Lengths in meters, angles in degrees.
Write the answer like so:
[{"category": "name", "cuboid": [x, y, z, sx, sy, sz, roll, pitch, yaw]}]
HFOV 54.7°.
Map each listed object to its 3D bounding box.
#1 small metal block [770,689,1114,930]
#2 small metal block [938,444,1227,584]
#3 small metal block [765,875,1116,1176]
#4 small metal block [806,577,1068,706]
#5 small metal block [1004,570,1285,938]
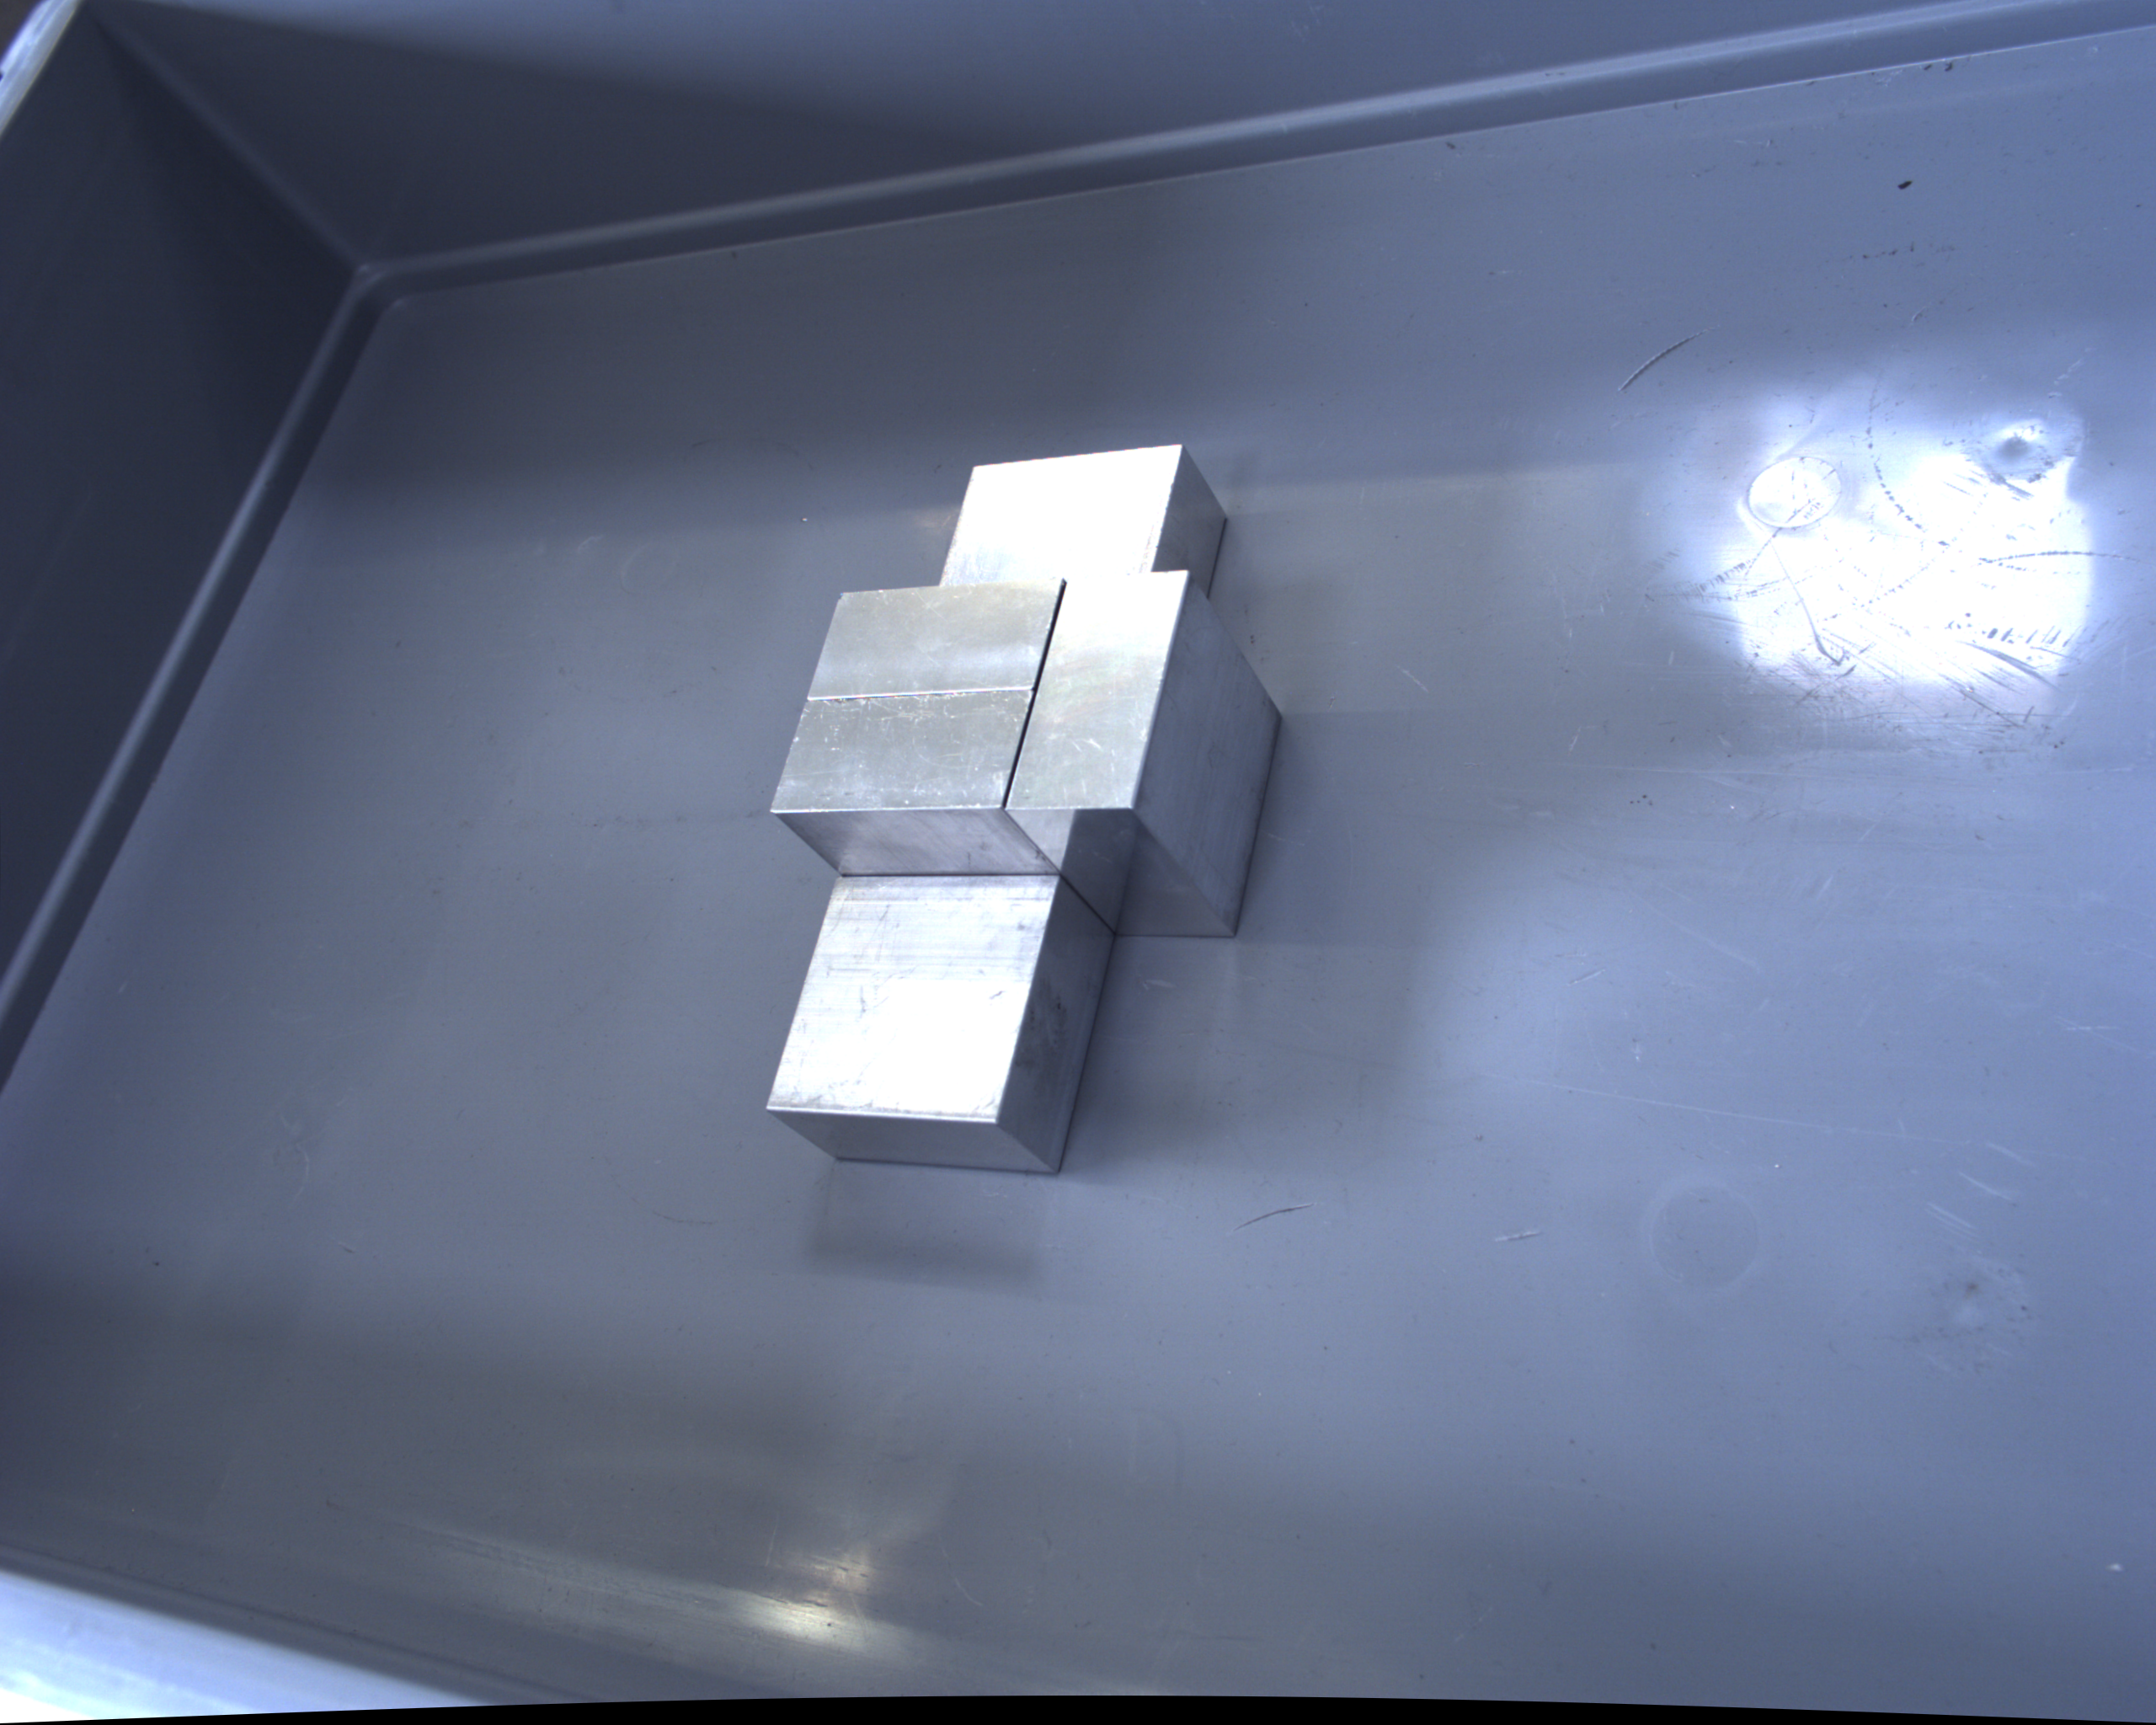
[{"category": "small metal block", "cuboid": [-0.022, -0.009, 0.405, 0.050, 0.050, 0.025, 0, 62, 28]}, {"category": "small metal block", "cuboid": [-0.001, -0.058, 0.440, 0.050, 0.025, 0.050, 0, 62, 28]}, {"category": "small metal block", "cuboid": [-0.026, 0.030, 0.398, 0.050, 0.025, 0.050, 0, 62, 28]}, {"category": "small metal block", "cuboid": [-0.017, -0.031, 0.415, 0.050, 0.050, 0.025, 0, 62, 28]}, {"category": "small metal block", "cuboid": [0.014, -0.019, 0.392, 0.025, 0.050, 0.050, 0, 62, 28]}]
